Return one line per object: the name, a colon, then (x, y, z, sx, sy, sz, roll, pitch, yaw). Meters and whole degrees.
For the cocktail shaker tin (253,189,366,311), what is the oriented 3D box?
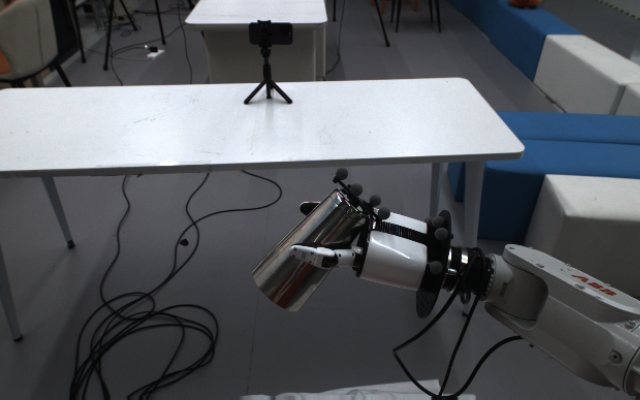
cocktail shaker tin: (-0.008, 0.063, 0.694, 0.093, 0.170, 0.093, 41, 13, -11)
